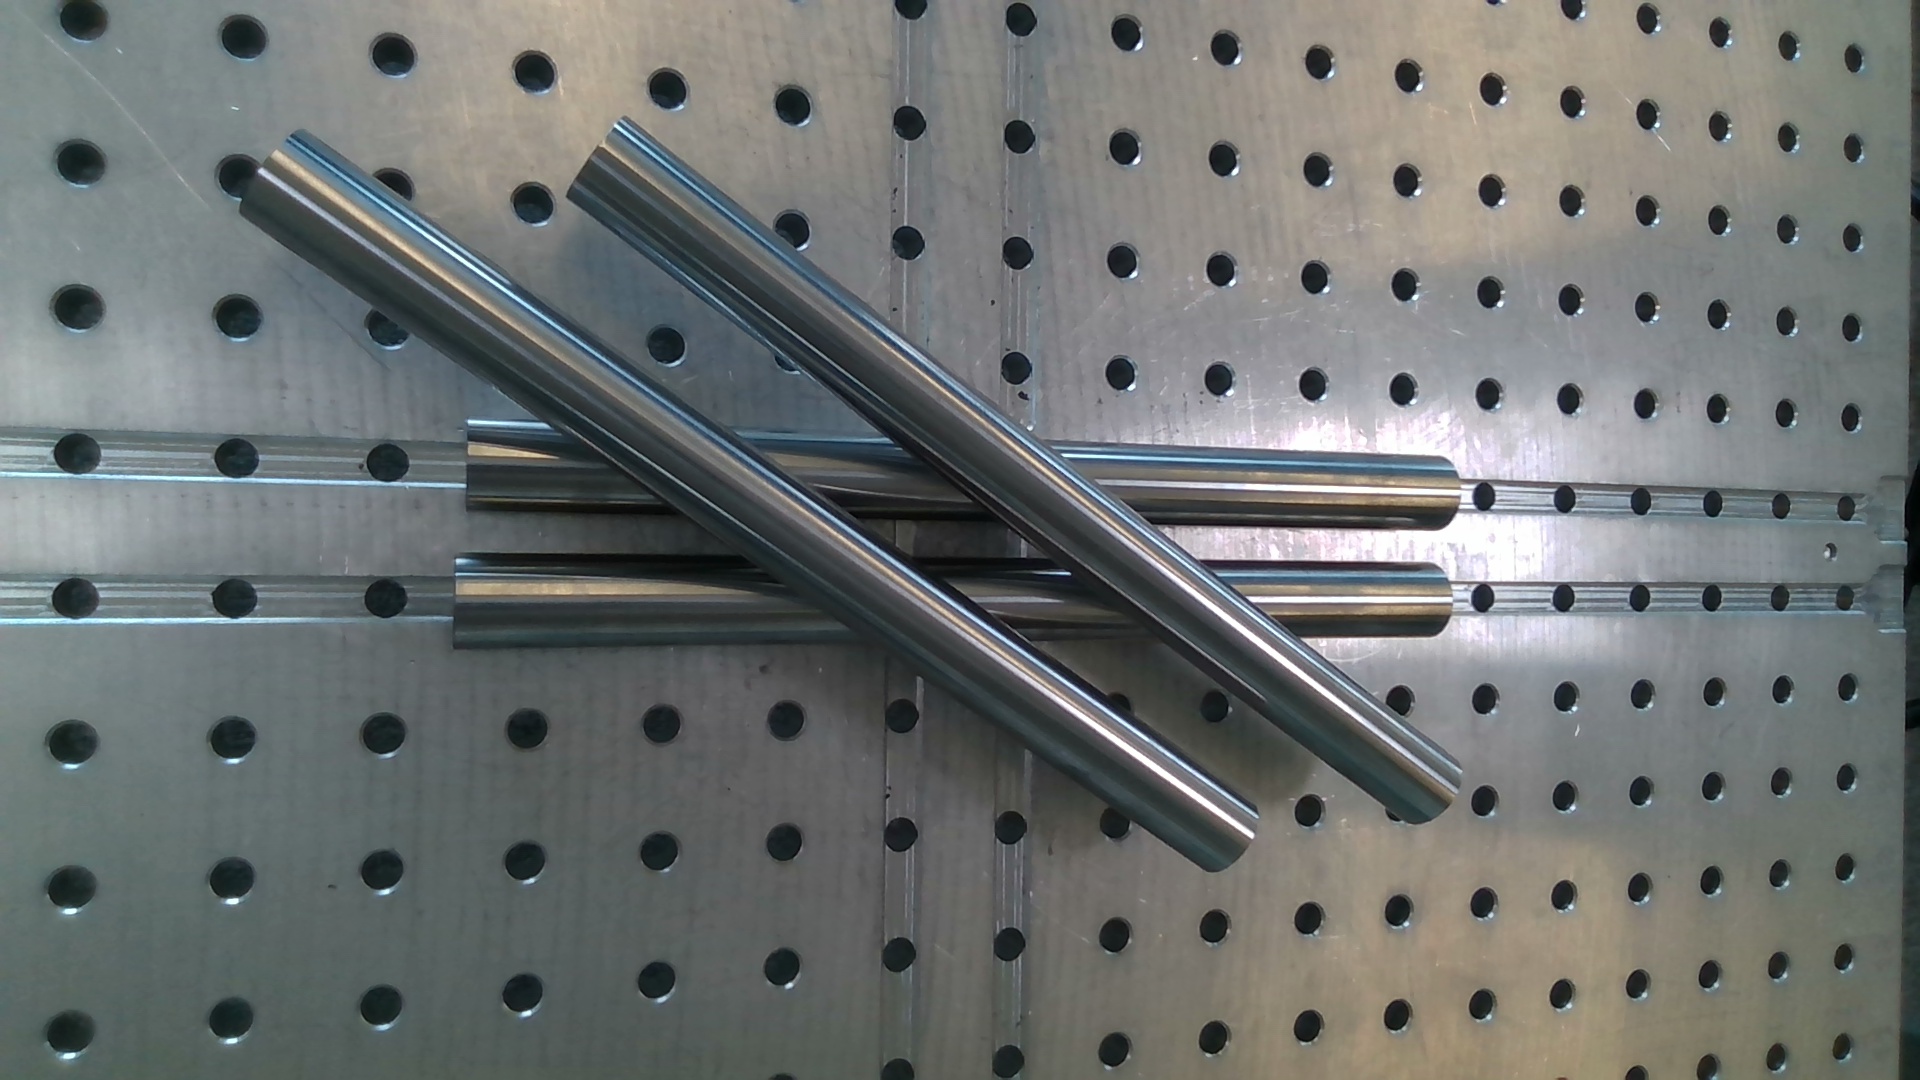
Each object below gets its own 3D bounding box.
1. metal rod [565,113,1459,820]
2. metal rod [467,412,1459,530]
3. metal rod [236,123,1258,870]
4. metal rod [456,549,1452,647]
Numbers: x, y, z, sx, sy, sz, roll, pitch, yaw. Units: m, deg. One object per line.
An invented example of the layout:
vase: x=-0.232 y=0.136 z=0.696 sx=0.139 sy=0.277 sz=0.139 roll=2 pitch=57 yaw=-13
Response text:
metal rod: x=0.027 y=-0.010 z=0.380 sx=0.300 sy=0.025 sz=0.025 roll=36 pitch=78 yaw=-17
metal rod: x=0.015 y=-0.018 z=0.403 sx=0.300 sy=0.025 sz=0.025 roll=1 pitch=90 yaw=-20
metal rod: x=-0.039 y=0.000 z=0.355 sx=0.300 sy=0.025 sz=0.025 roll=36 pitch=78 yaw=-17
metal rod: x=0.013 y=0.017 z=0.402 sx=0.300 sy=0.025 sz=0.025 roll=1 pitch=90 yaw=-20
